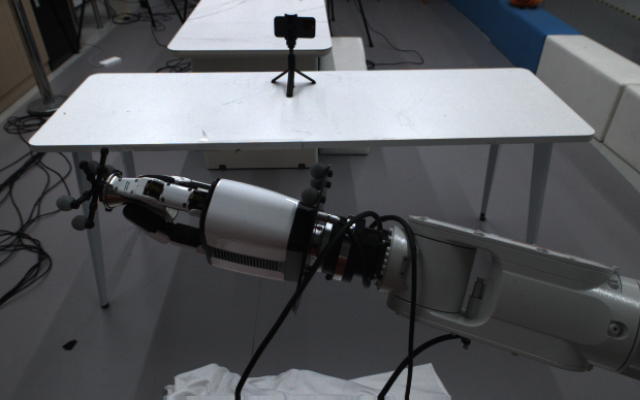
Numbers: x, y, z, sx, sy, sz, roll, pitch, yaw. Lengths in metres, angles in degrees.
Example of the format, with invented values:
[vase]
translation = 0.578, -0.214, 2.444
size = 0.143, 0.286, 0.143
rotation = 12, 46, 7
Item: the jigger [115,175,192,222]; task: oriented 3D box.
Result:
[jigger]
translation = -0.183, -0.007, 0.516
size = 0.071, 0.043, 0.043
rotation = 10, 35, 2
